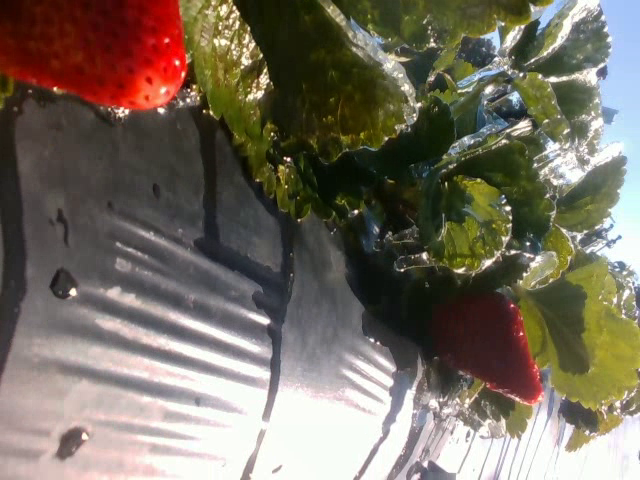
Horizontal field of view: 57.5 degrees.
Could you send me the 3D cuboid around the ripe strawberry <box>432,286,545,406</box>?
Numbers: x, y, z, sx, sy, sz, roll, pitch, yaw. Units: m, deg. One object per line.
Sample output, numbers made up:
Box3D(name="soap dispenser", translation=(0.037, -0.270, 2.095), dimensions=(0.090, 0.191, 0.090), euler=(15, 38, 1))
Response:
Box3D(name="ripe strawberry", translation=(0.071, 0.046, 0.233), dimensions=(0.041, 0.047, 0.053), euler=(37, 14, -47))
